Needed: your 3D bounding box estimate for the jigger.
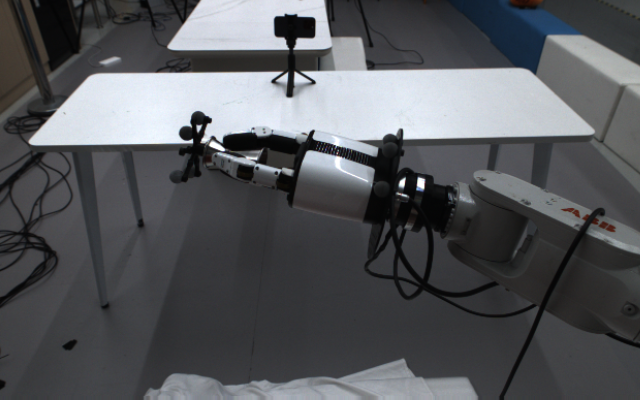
[{"bbox_3d":[-0.100,-0.053,0.588,0.071,0.043,0.043,14,36,4],"label":"jigger"}]
